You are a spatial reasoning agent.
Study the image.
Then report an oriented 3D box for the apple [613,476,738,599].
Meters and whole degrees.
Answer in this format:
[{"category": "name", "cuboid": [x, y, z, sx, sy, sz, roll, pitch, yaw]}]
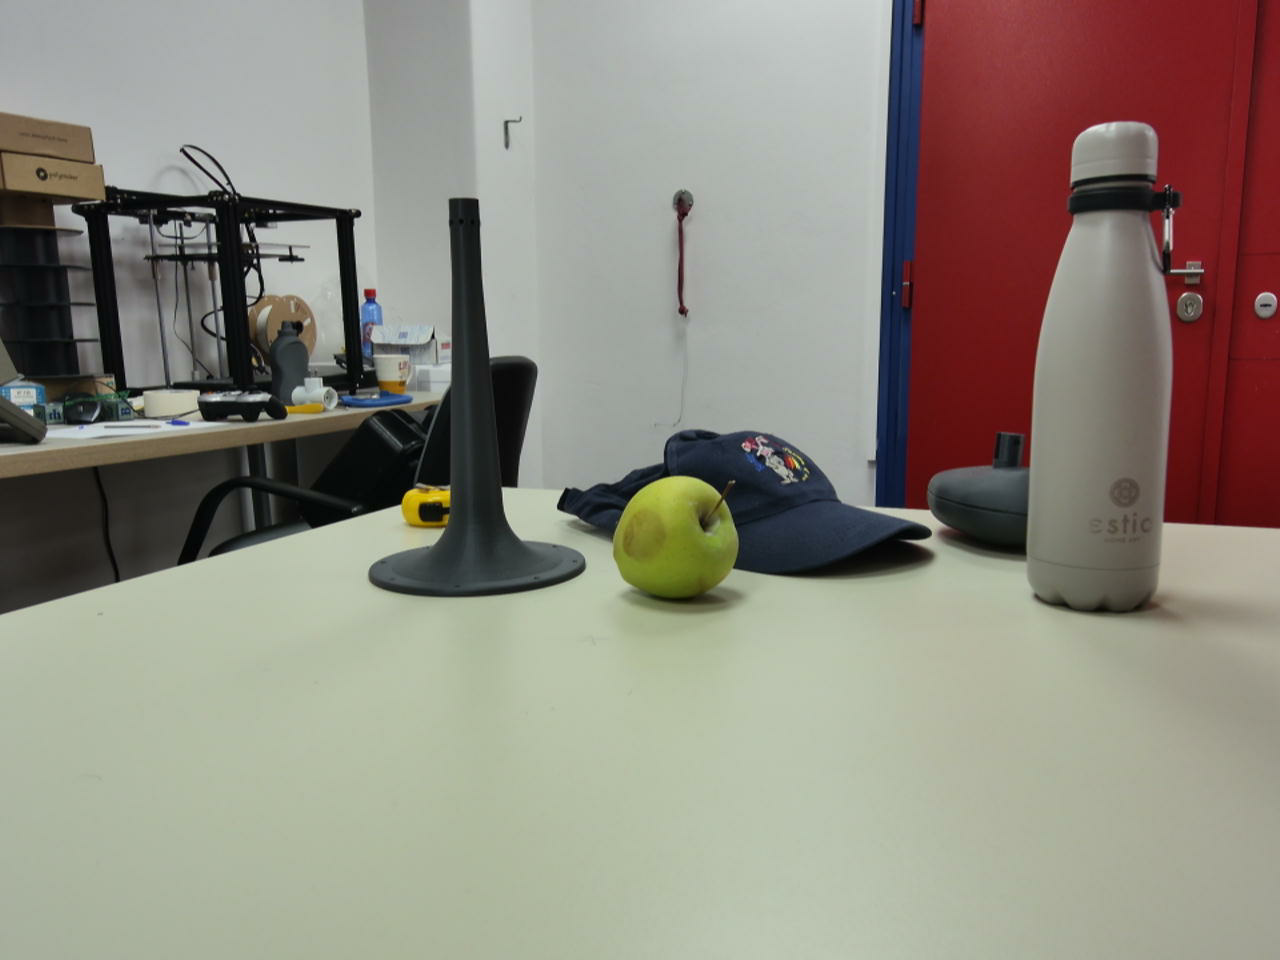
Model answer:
[{"category": "apple", "cuboid": [0.023, 0.034, 0.621, 0.072, 0.075, 0.077, -4, 8, -23]}]
